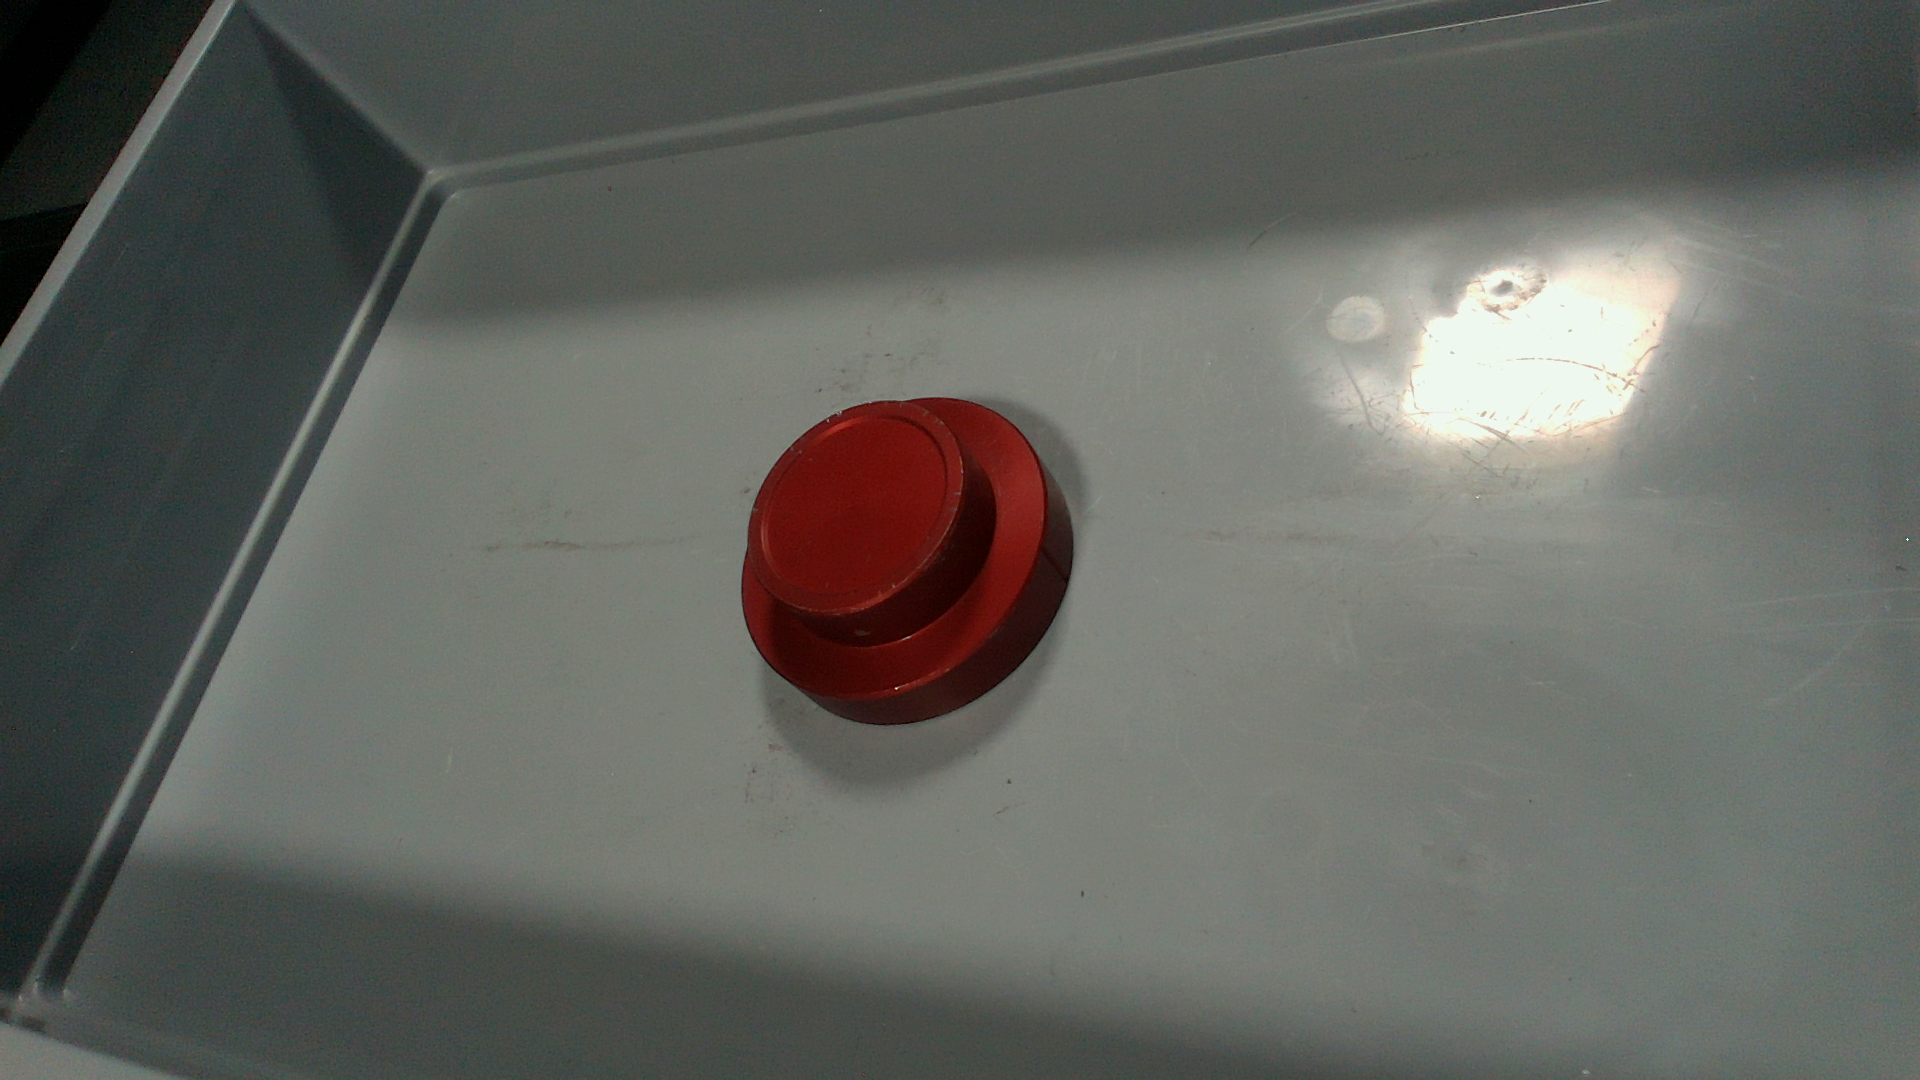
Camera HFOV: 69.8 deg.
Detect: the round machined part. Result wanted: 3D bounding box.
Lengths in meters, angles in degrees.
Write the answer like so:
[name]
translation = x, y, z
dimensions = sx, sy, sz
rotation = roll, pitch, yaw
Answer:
[round machined part]
translation = -0.021, -0.001, 0.391
dimensions = 0.098, 0.042, 0.098
rotation = -13, 56, 21
